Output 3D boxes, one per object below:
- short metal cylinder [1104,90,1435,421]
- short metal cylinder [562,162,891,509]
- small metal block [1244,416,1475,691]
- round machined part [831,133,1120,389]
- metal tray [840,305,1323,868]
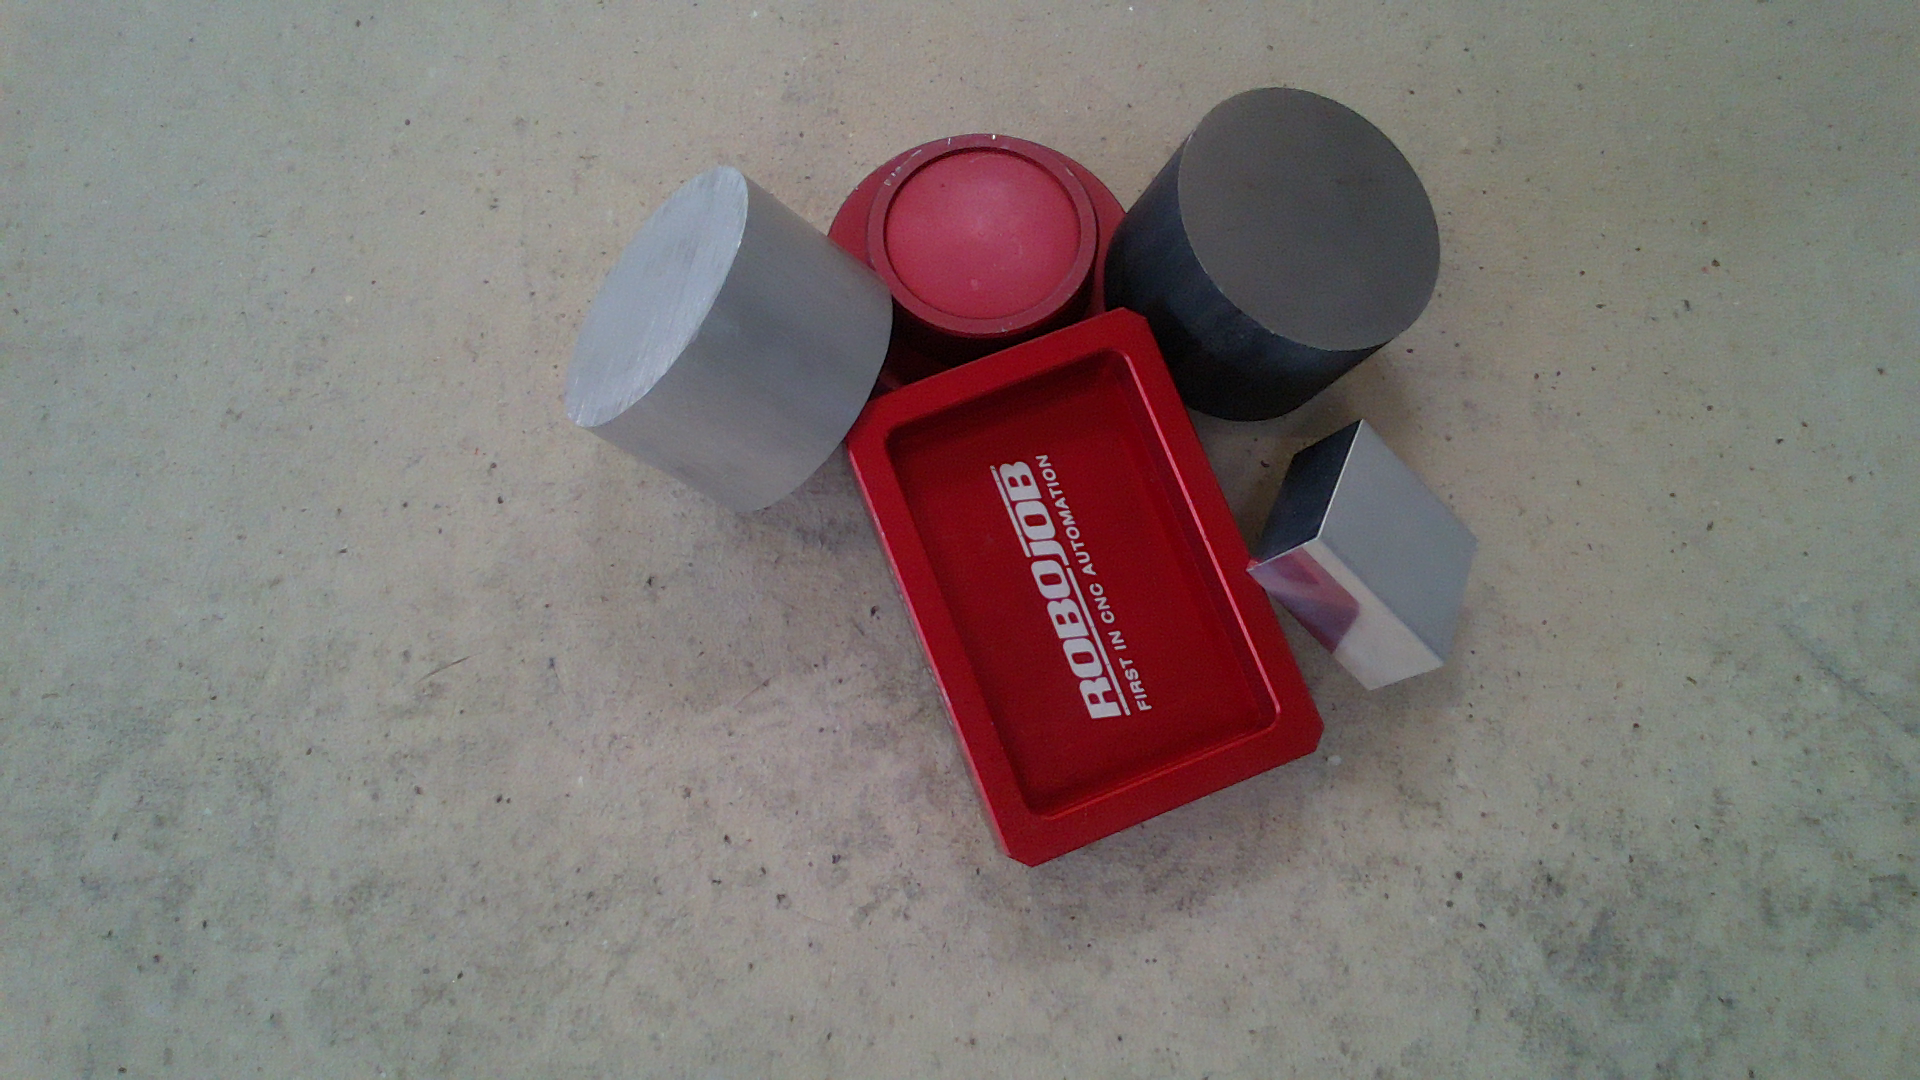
[{"bbox_3d":[0.089,-0.081,0.400,0.080,0.050,0.080,6,71,-17],"label":"short metal cylinder"},{"bbox_3d":[-0.065,-0.055,0.378,0.050,0.080,0.080,32,66,-35],"label":"short metal cylinder"},{"bbox_3d":[0.110,0.003,0.375,0.050,0.025,0.050,43,49,-13],"label":"small metal block"},{"bbox_3d":[0.006,-0.082,0.416,0.098,0.042,0.098,0,70,0],"label":"round machined part"},{"bbox_3d":[0.030,0.012,0.376,0.090,0.030,0.130,-21,81,-8],"label":"metal tray"}]
